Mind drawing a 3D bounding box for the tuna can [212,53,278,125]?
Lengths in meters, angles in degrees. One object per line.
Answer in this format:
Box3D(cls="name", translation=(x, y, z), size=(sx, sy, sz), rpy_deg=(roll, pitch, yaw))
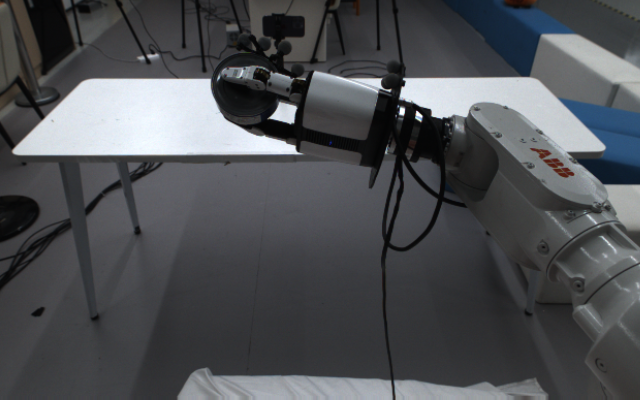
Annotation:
Box3D(cls="tuna can", translation=(-0.093, -0.140, 0.613), size=(0.085, 0.034, 0.085), rpy_deg=(1, 75, -4))
